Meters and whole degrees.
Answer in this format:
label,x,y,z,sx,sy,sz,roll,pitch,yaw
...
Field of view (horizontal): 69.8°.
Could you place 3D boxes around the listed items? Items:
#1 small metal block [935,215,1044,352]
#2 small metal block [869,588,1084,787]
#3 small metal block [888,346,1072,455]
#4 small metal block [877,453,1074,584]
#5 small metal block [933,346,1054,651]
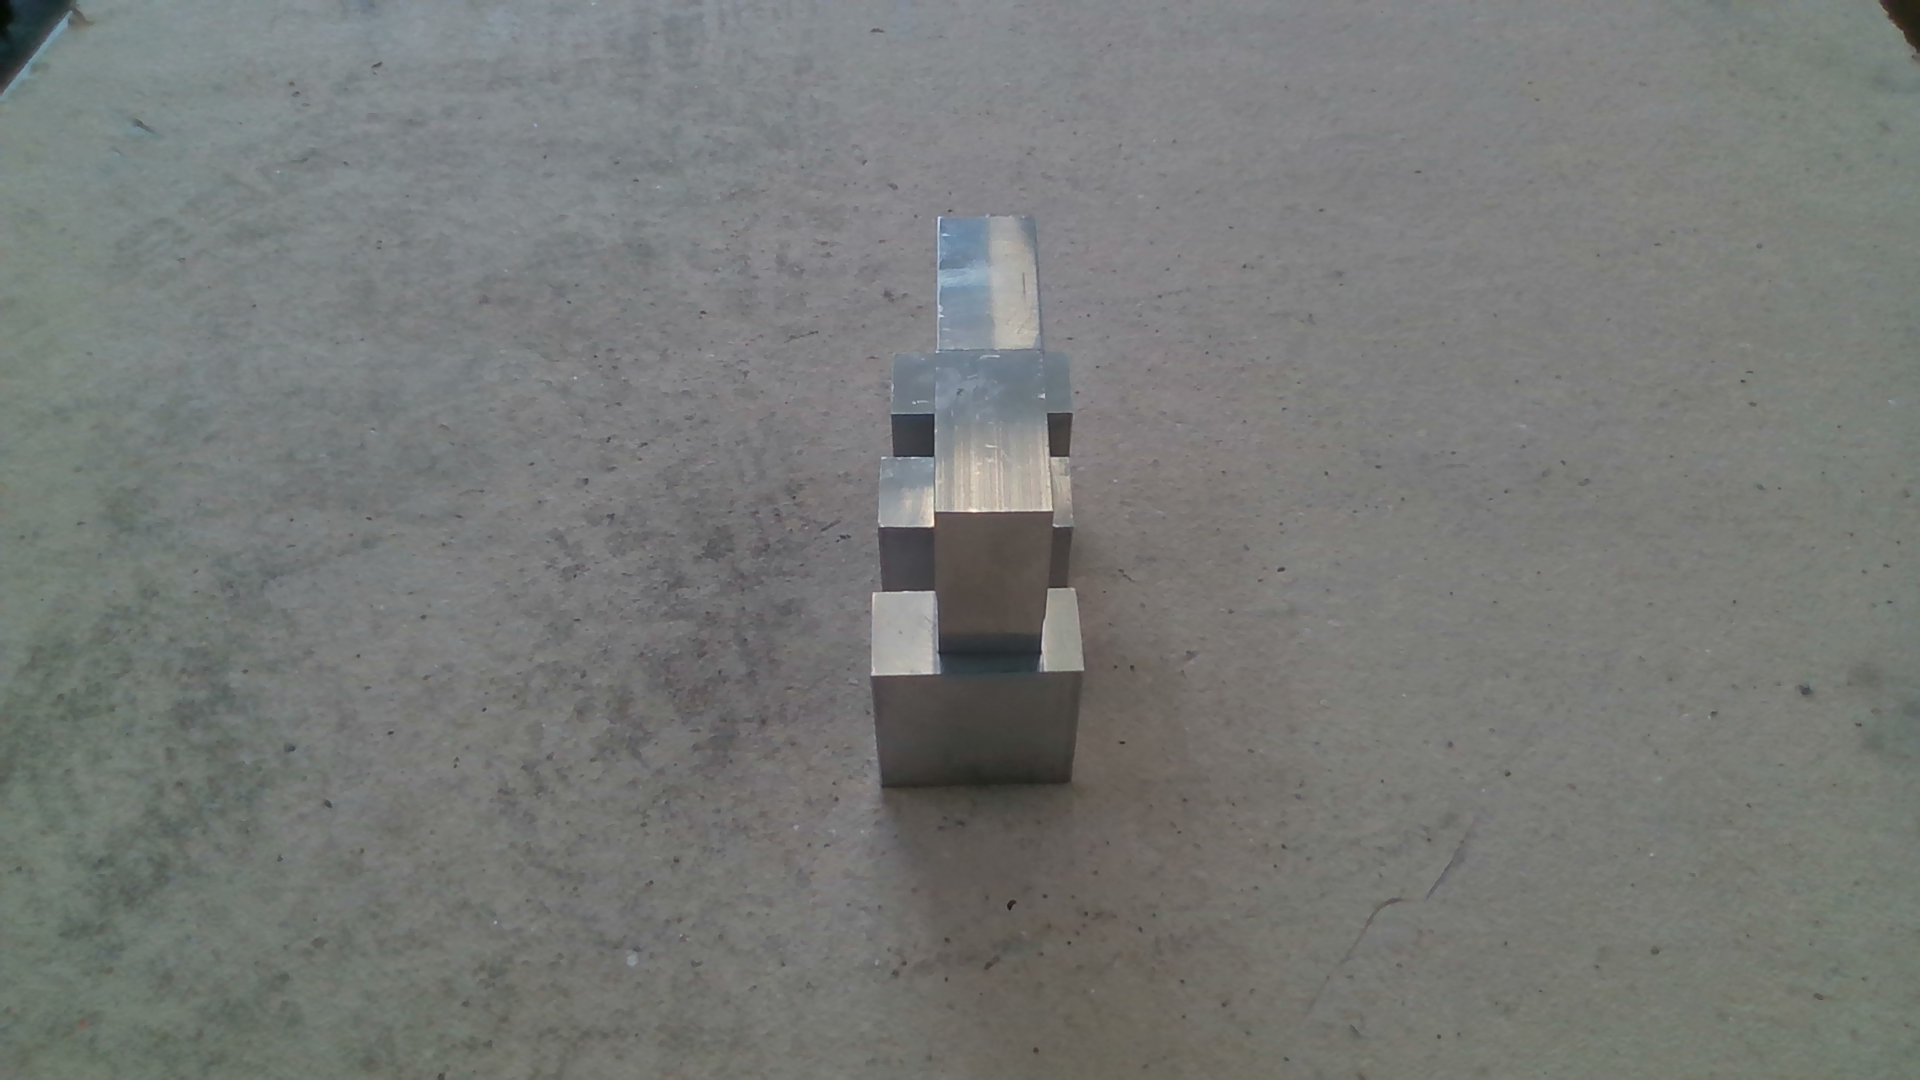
label,x,y,z,sx,sy,sz,roll,pitch,yaw
small metal block,0.007,-0.047,0.352,0.025,0.050,0.050,0,50,0
small metal block,0.003,0.038,0.346,0.050,0.050,0.025,-1,50,-1
small metal block,0.005,-0.029,0.401,0.050,0.050,0.025,0,50,-1
small metal block,0.004,0.003,0.376,0.050,0.050,0.025,-1,50,-1
small metal block,0.007,-0.009,0.320,0.025,0.050,0.050,0,50,0
